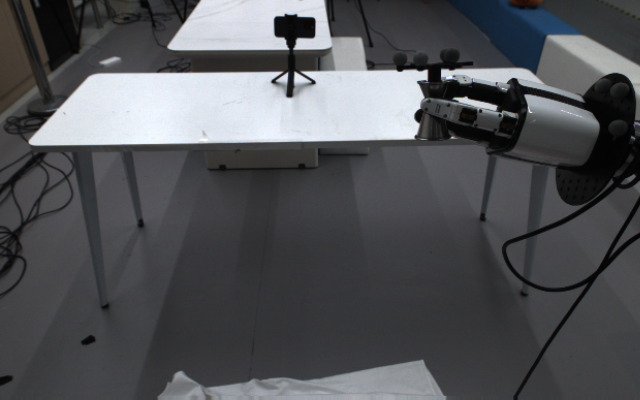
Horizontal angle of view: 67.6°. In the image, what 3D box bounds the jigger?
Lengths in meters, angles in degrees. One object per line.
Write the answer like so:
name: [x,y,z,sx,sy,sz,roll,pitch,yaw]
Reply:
jigger: [0.136,-0.109,0.585,0.043,0.071,0.043,-2,19,1]
